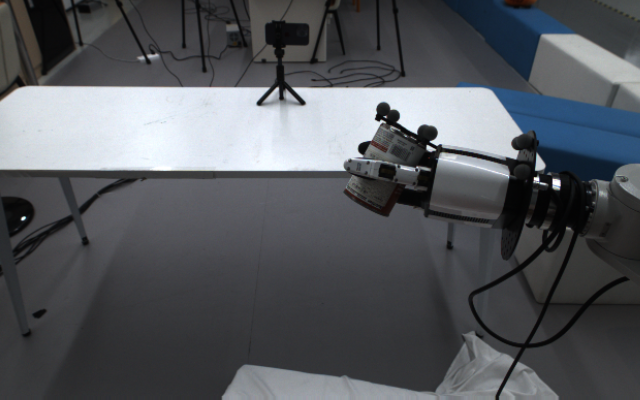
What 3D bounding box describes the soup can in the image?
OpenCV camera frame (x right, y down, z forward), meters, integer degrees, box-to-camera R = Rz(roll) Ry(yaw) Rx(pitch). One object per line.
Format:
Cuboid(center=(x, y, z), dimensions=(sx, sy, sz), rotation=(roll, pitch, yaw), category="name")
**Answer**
Cuboid(center=(0.084, -0.039, 0.622), dimensions=(0.067, 0.101, 0.067), rotation=(27, 10, -5), category="soup can")
